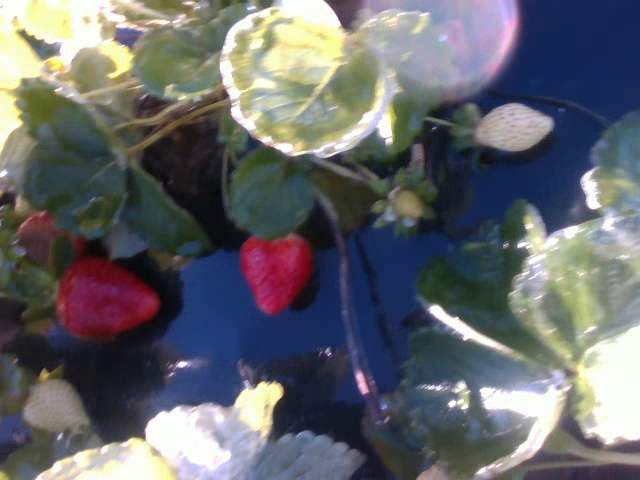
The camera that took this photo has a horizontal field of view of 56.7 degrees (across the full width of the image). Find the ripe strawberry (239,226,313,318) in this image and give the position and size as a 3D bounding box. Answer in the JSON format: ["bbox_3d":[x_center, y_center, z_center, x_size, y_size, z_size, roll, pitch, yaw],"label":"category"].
[{"bbox_3d":[-0.020,0.015,0.269,0.039,0.047,0.040,-1,-3,8],"label":"ripe strawberry"}]

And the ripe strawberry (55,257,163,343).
[{"bbox_3d":[-0.107,0.035,0.298,0.056,0.044,0.040,10,9,6],"label":"ripe strawberry"}]
